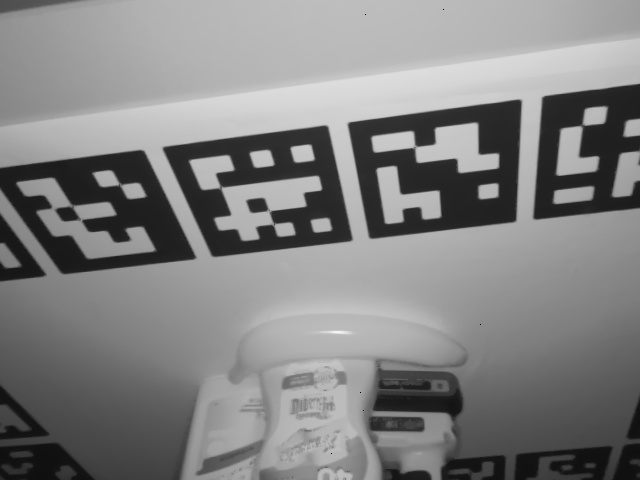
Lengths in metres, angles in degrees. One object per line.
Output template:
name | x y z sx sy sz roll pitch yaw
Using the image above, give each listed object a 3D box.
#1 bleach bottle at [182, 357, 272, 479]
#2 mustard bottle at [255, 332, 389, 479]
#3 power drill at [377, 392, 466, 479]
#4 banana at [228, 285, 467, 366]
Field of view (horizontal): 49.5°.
bleach bottle | -0.059 0.214 0.536 0.102 0.253 0.067 -4 137 5
mustard bottle | 0.002 0.148 0.510 0.096 0.193 0.058 -5 131 7
power drill | 0.053 0.210 0.537 0.185 0.189 0.057 4 133 -1
banana | 0.019 0.067 0.553 0.197 0.039 0.073 -4 130 1
